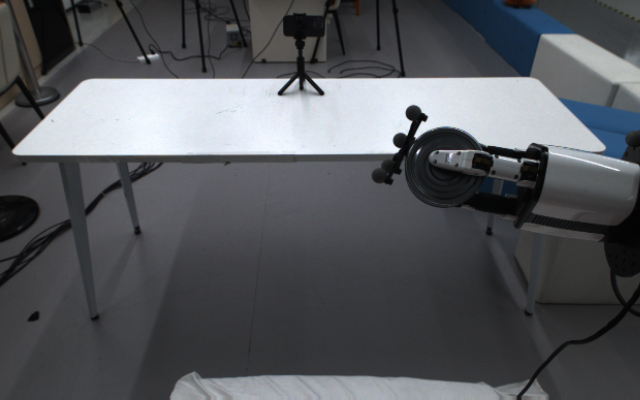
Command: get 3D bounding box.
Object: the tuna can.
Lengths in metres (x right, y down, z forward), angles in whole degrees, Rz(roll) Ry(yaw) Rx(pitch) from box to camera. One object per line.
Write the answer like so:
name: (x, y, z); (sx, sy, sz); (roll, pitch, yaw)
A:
tuna can: (0.138, -0.038, 0.530); (0.085, 0.085, 0.034); (9, -5, 10)
